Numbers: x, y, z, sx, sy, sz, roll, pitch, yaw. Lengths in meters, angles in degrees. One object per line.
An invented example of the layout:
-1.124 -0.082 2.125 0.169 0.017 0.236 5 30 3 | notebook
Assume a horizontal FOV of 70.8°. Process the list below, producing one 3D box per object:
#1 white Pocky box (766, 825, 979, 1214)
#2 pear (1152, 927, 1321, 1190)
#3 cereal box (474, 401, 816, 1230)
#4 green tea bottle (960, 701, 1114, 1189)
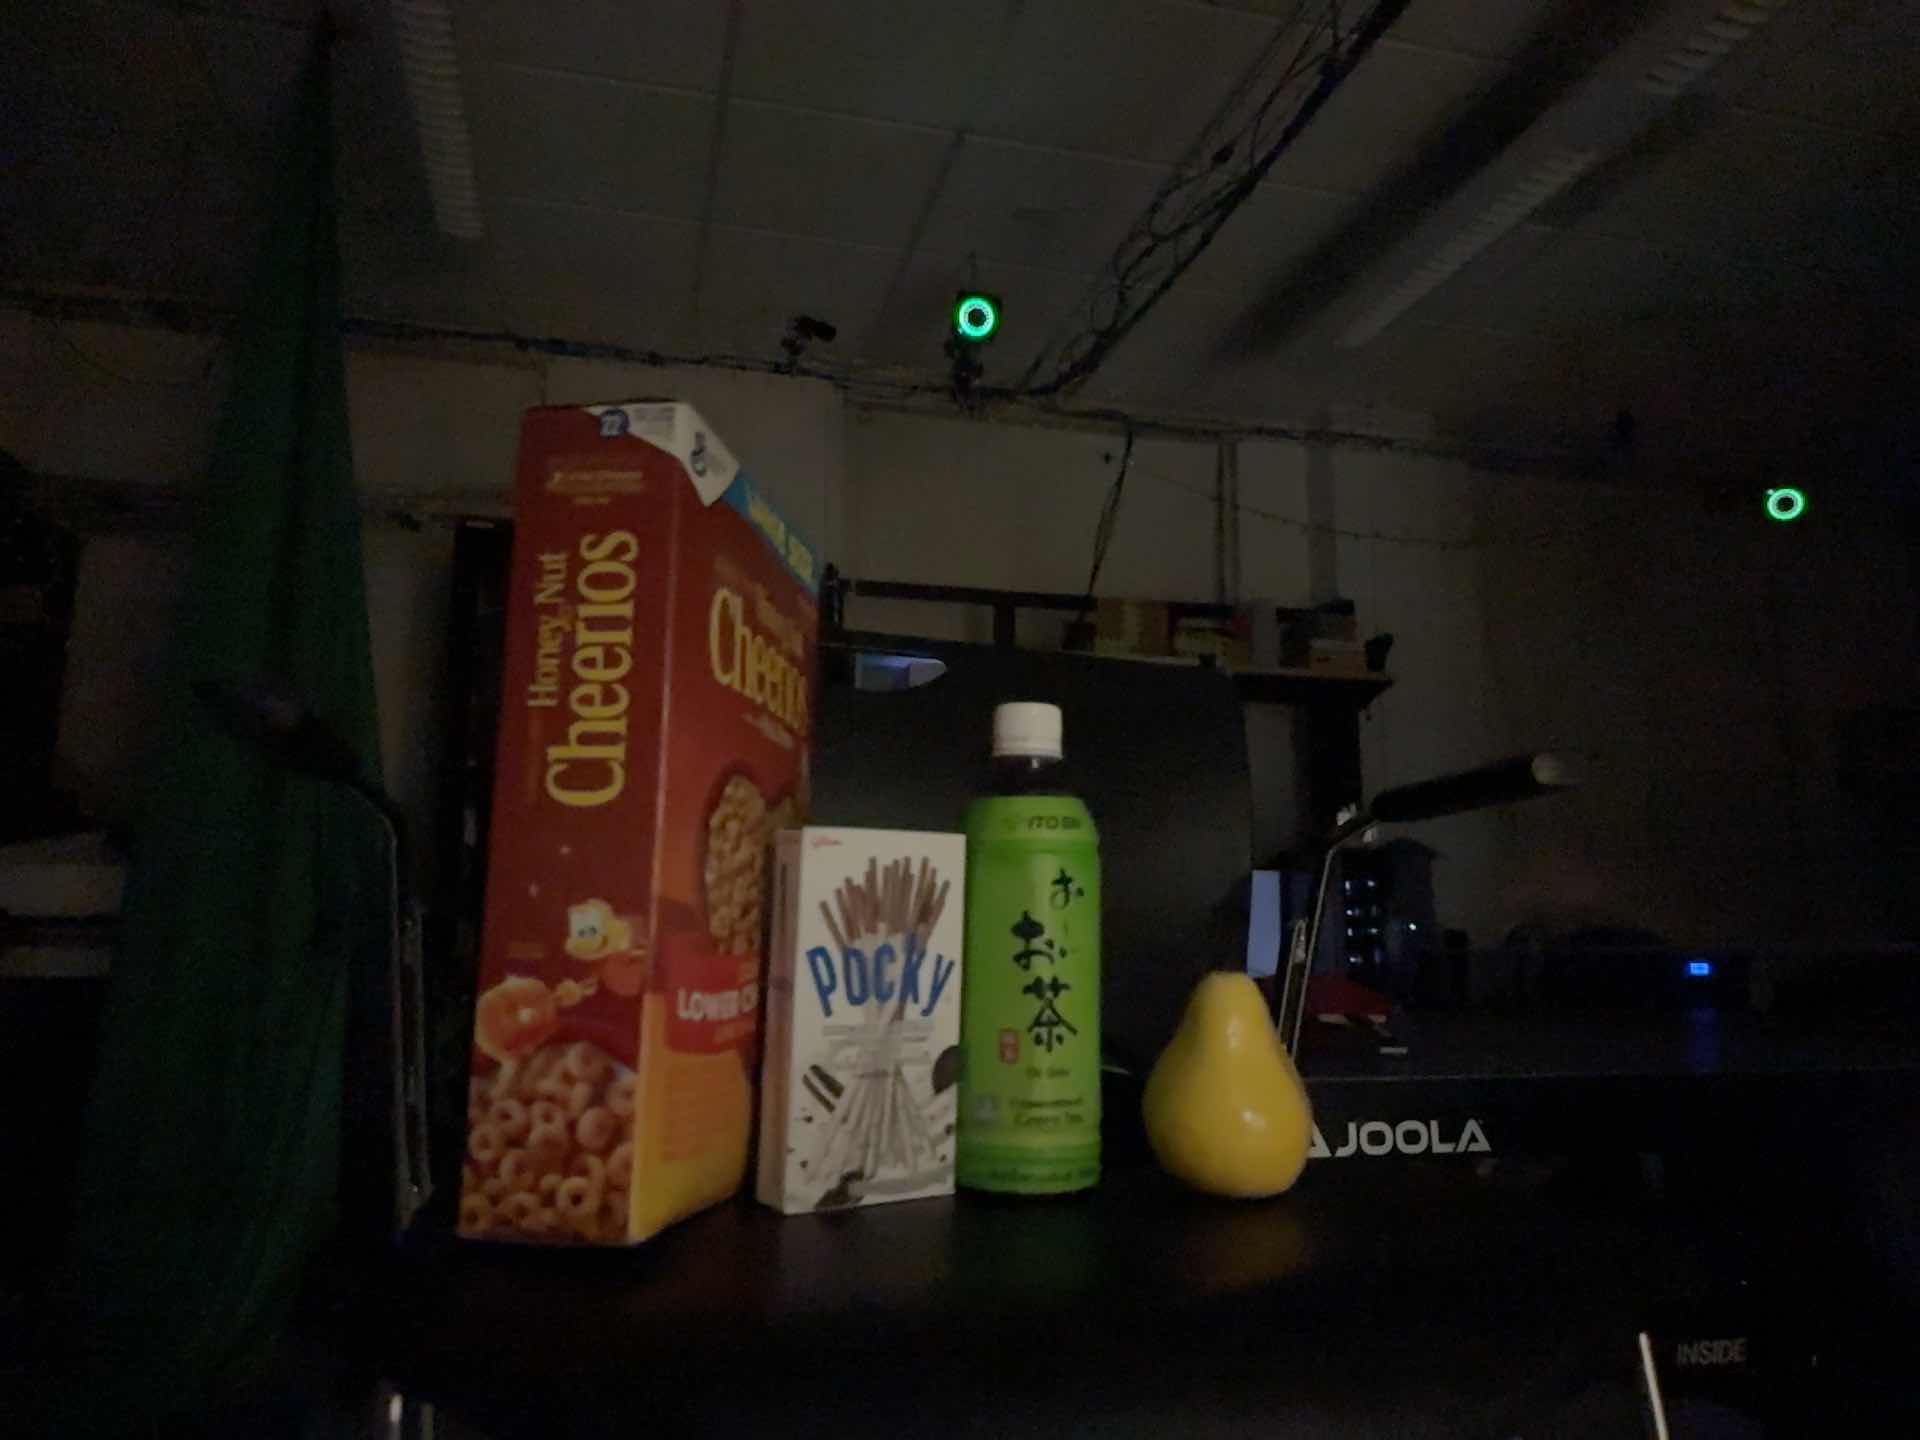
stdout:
-0.036 0.123 0.568 0.084 0.154 0.028 5 -3 -32 | white Pocky box
0.121 0.150 0.605 0.080 0.111 0.080 -3 -11 -1 | pear
-0.123 0.041 0.588 0.065 0.297 0.195 1 -9 7 | cereal box
0.032 0.097 0.610 0.073 0.212 0.073 -2 -6 0 | green tea bottle
